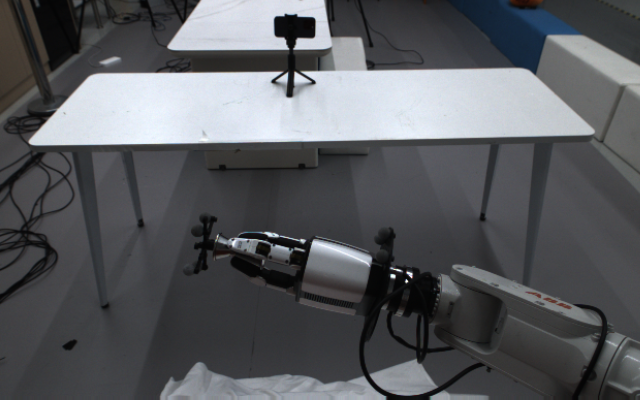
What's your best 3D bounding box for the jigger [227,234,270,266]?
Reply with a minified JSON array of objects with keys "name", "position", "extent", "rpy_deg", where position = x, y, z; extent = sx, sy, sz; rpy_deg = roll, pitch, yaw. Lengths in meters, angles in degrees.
[{"name":"jigger","position":[-0.103,0.067,0.670],"extent":[0.071,0.043,0.043],"rpy_deg":[10,35,1]}]
